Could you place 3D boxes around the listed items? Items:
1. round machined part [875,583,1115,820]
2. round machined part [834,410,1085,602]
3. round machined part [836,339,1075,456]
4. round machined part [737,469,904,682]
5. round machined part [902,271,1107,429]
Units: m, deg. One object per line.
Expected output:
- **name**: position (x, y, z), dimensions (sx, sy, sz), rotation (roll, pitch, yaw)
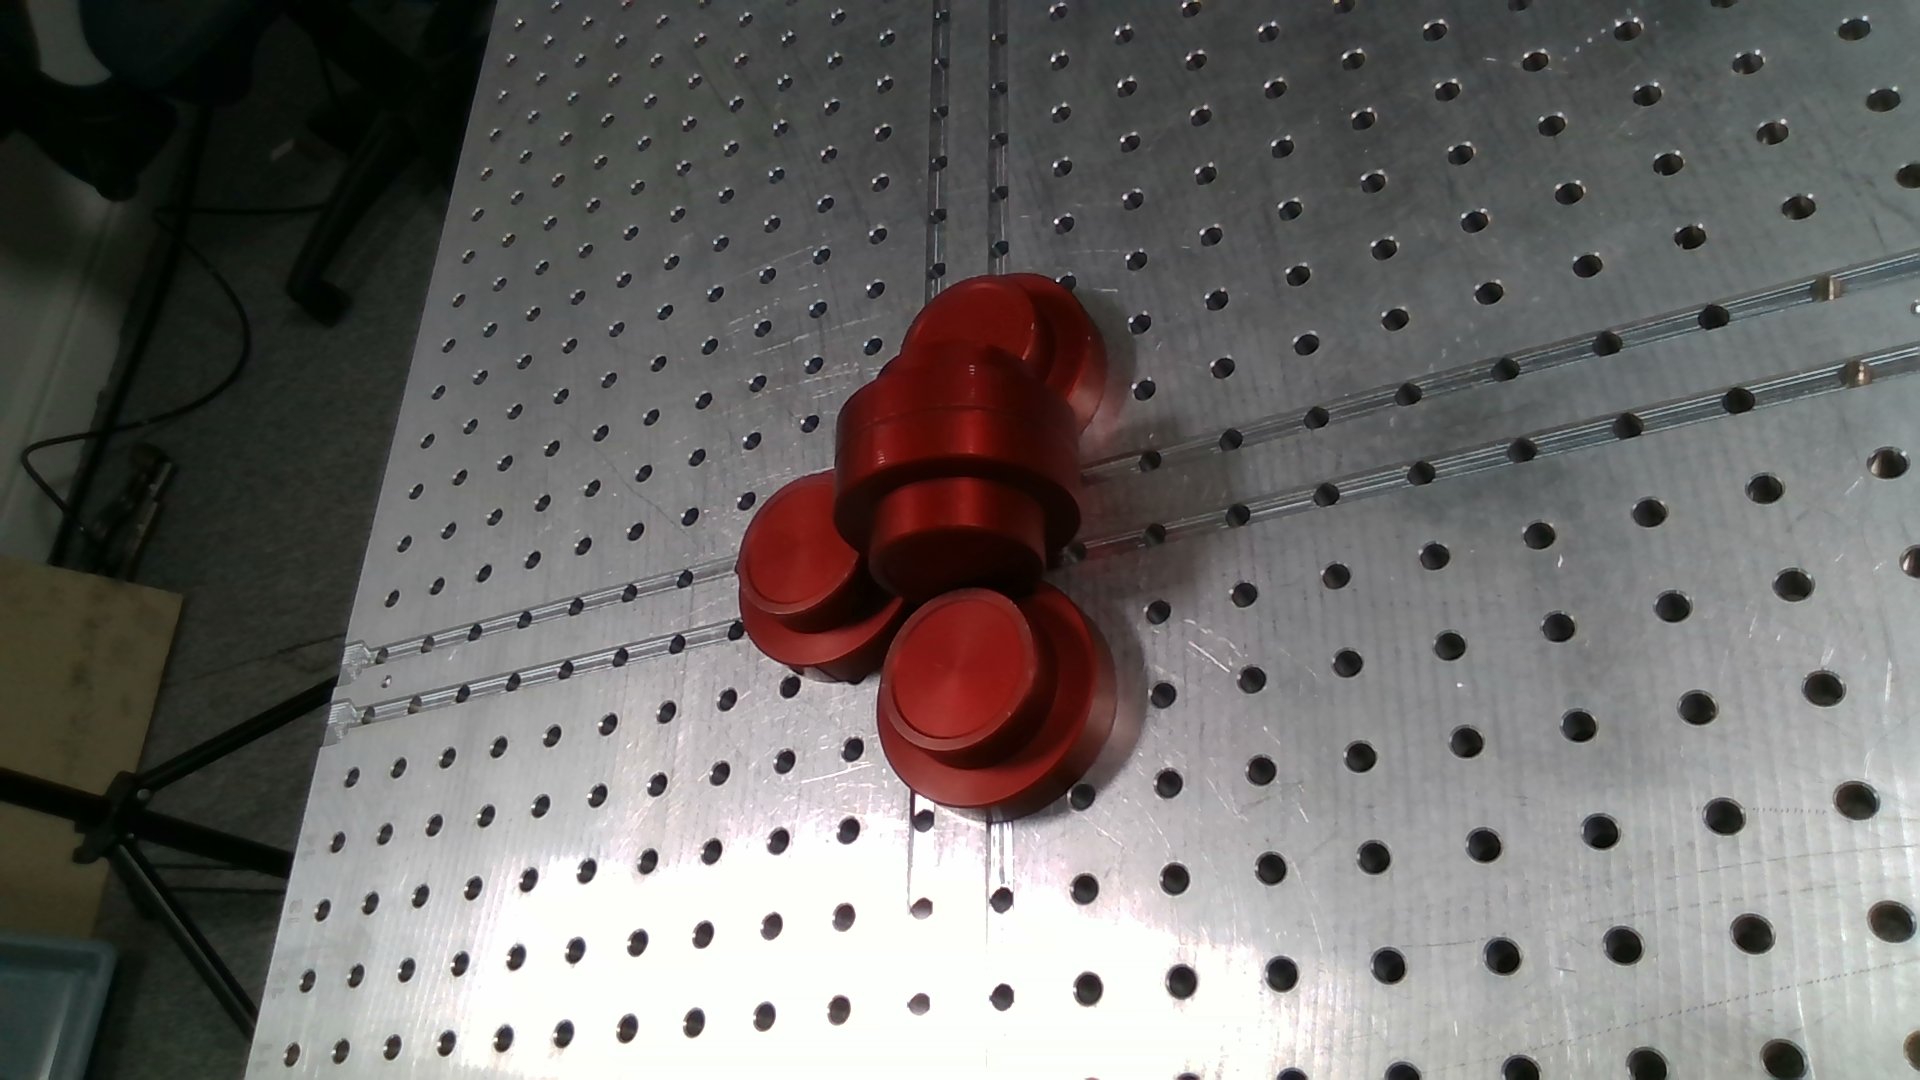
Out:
- **round machined part**: position (0.008, 0.057, 0.542), dimensions (0.098, 0.042, 0.098), rotation (-14, 59, 25)
- **round machined part**: position (0.000, -0.006, 0.538), dimensions (0.098, 0.098, 0.042), rotation (-15, 58, 24)
- **round machined part**: position (-0.001, -0.045, 0.558), dimensions (0.098, 0.098, 0.042), rotation (-13, 59, 26)
- **round machined part**: position (-0.059, 0.010, 0.609), dimensions (0.098, 0.042, 0.098), rotation (-14, 59, 25)
- **round machined part**: position (0.012, -0.078, 0.612), dimensions (0.098, 0.042, 0.098), rotation (-14, 59, 25)
